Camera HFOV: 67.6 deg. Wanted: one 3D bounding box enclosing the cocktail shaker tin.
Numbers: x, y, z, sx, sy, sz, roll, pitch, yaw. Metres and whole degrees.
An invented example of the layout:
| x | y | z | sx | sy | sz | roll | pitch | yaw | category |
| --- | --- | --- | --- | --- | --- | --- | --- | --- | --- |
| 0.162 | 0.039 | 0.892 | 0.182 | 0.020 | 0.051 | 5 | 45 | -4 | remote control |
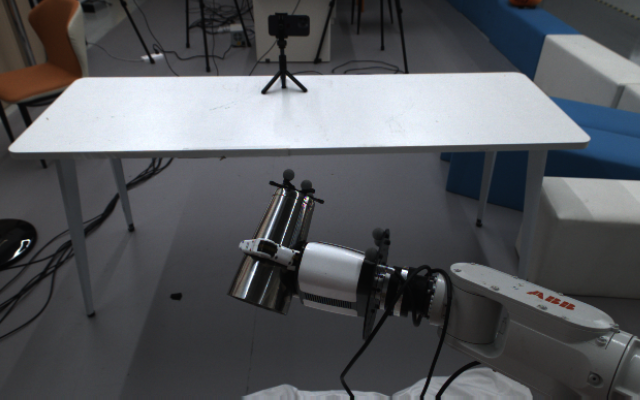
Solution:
| x | y | z | sx | sy | sz | roll | pitch | yaw | category |
| --- | --- | --- | --- | --- | --- | --- | --- | --- | --- |
| -0.065 | 0.074 | 0.713 | 0.093 | 0.093 | 0.170 | 14 | 73 | 17 | cocktail shaker tin |
